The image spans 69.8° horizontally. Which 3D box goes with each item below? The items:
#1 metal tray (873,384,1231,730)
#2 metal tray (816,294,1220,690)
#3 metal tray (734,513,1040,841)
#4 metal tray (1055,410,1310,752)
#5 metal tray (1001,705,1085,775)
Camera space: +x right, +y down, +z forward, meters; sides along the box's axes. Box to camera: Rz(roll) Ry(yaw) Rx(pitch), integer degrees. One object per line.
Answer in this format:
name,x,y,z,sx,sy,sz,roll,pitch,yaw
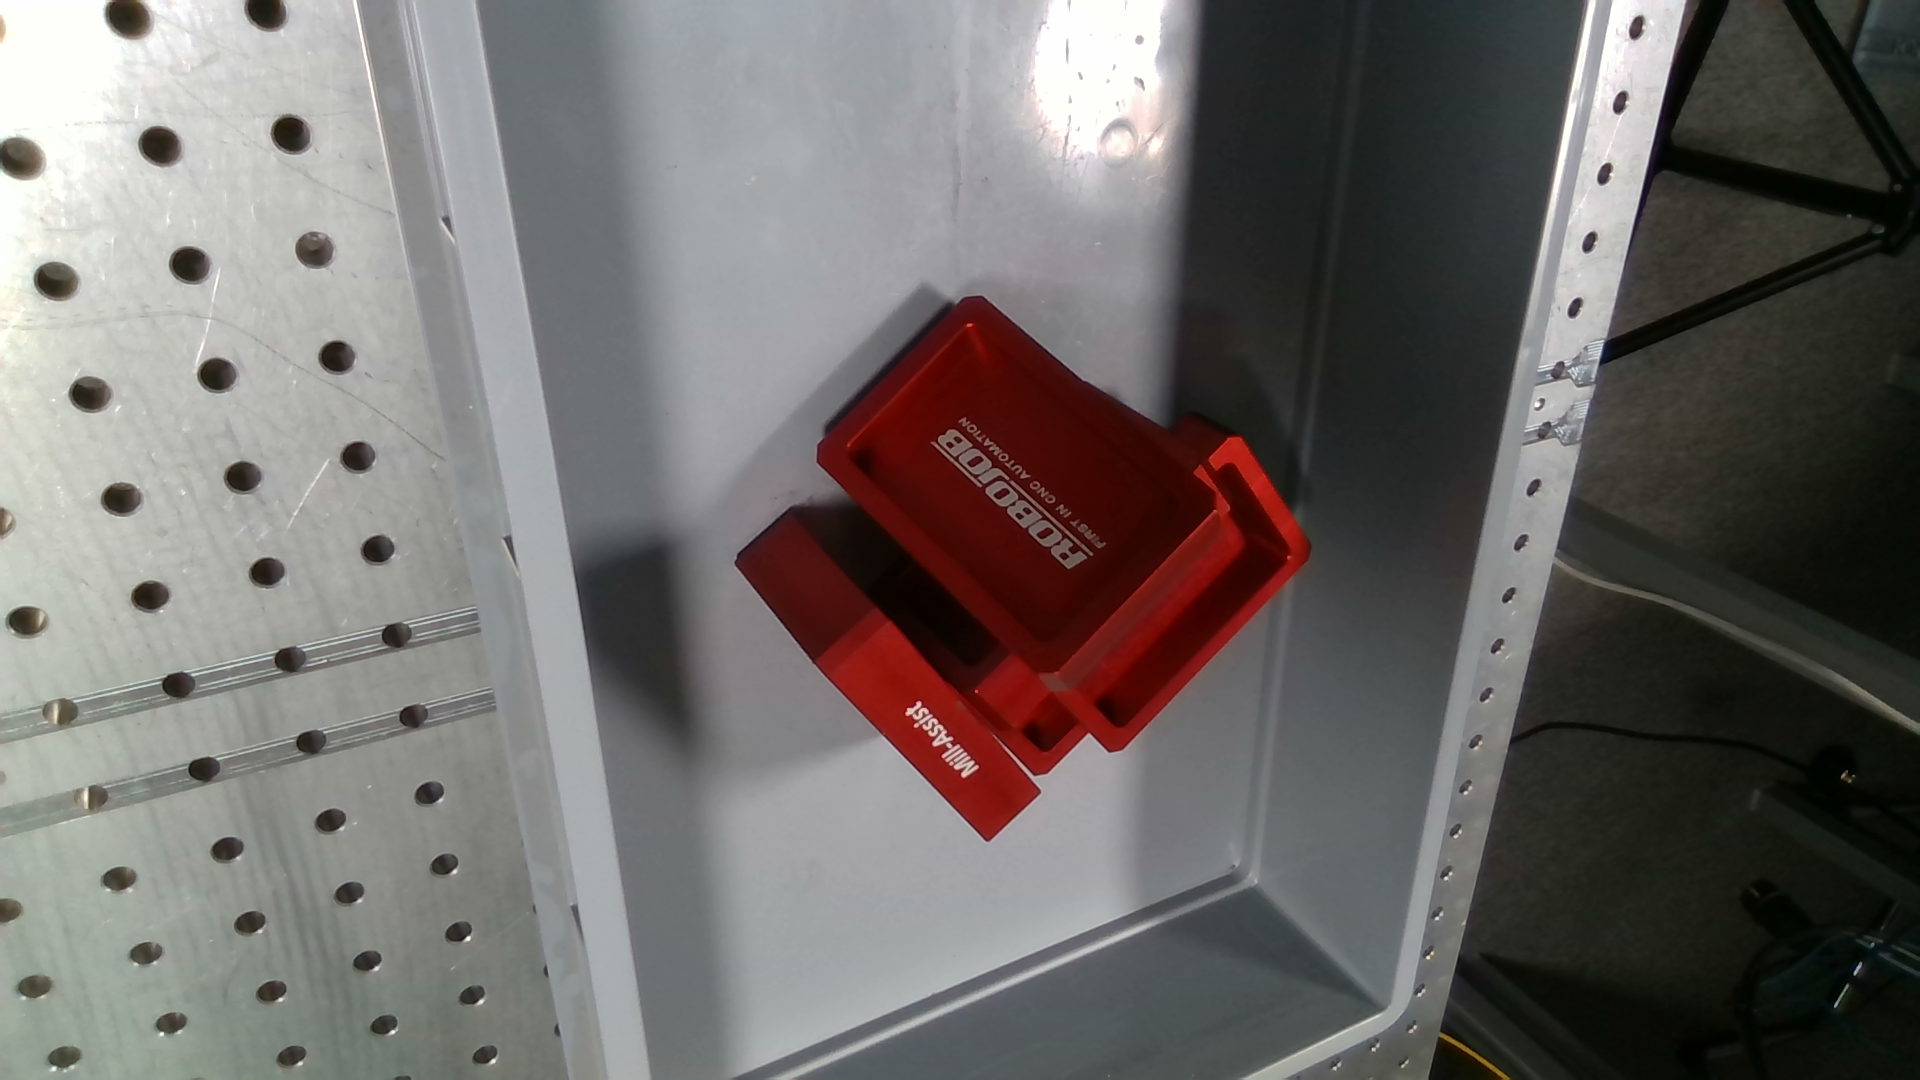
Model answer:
metal tray,0.034,0.004,0.559,0.130,0.090,0.030,-45,129,-3
metal tray,0.021,-0.019,0.516,0.090,0.130,0.030,-46,160,-3
metal tray,-0.028,0.056,0.550,0.030,0.090,0.130,-42,129,-6
metal tray,0.083,0.019,0.598,0.130,0.030,0.090,-45,129,-4
metal tray,0.054,0.034,0.629,0.130,0.030,0.090,-44,128,-5
